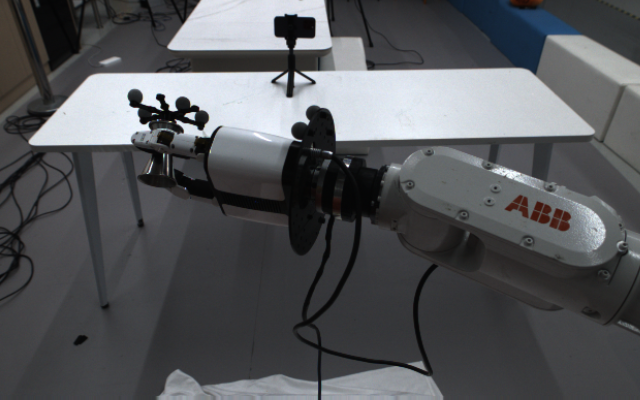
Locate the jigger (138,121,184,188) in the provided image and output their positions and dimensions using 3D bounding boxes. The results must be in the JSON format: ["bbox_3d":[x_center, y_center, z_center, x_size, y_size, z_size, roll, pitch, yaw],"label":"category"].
[{"bbox_3d":[-0.184,-0.054,0.561,0.043,0.043,0.071,3,72,1],"label":"jigger"}]
